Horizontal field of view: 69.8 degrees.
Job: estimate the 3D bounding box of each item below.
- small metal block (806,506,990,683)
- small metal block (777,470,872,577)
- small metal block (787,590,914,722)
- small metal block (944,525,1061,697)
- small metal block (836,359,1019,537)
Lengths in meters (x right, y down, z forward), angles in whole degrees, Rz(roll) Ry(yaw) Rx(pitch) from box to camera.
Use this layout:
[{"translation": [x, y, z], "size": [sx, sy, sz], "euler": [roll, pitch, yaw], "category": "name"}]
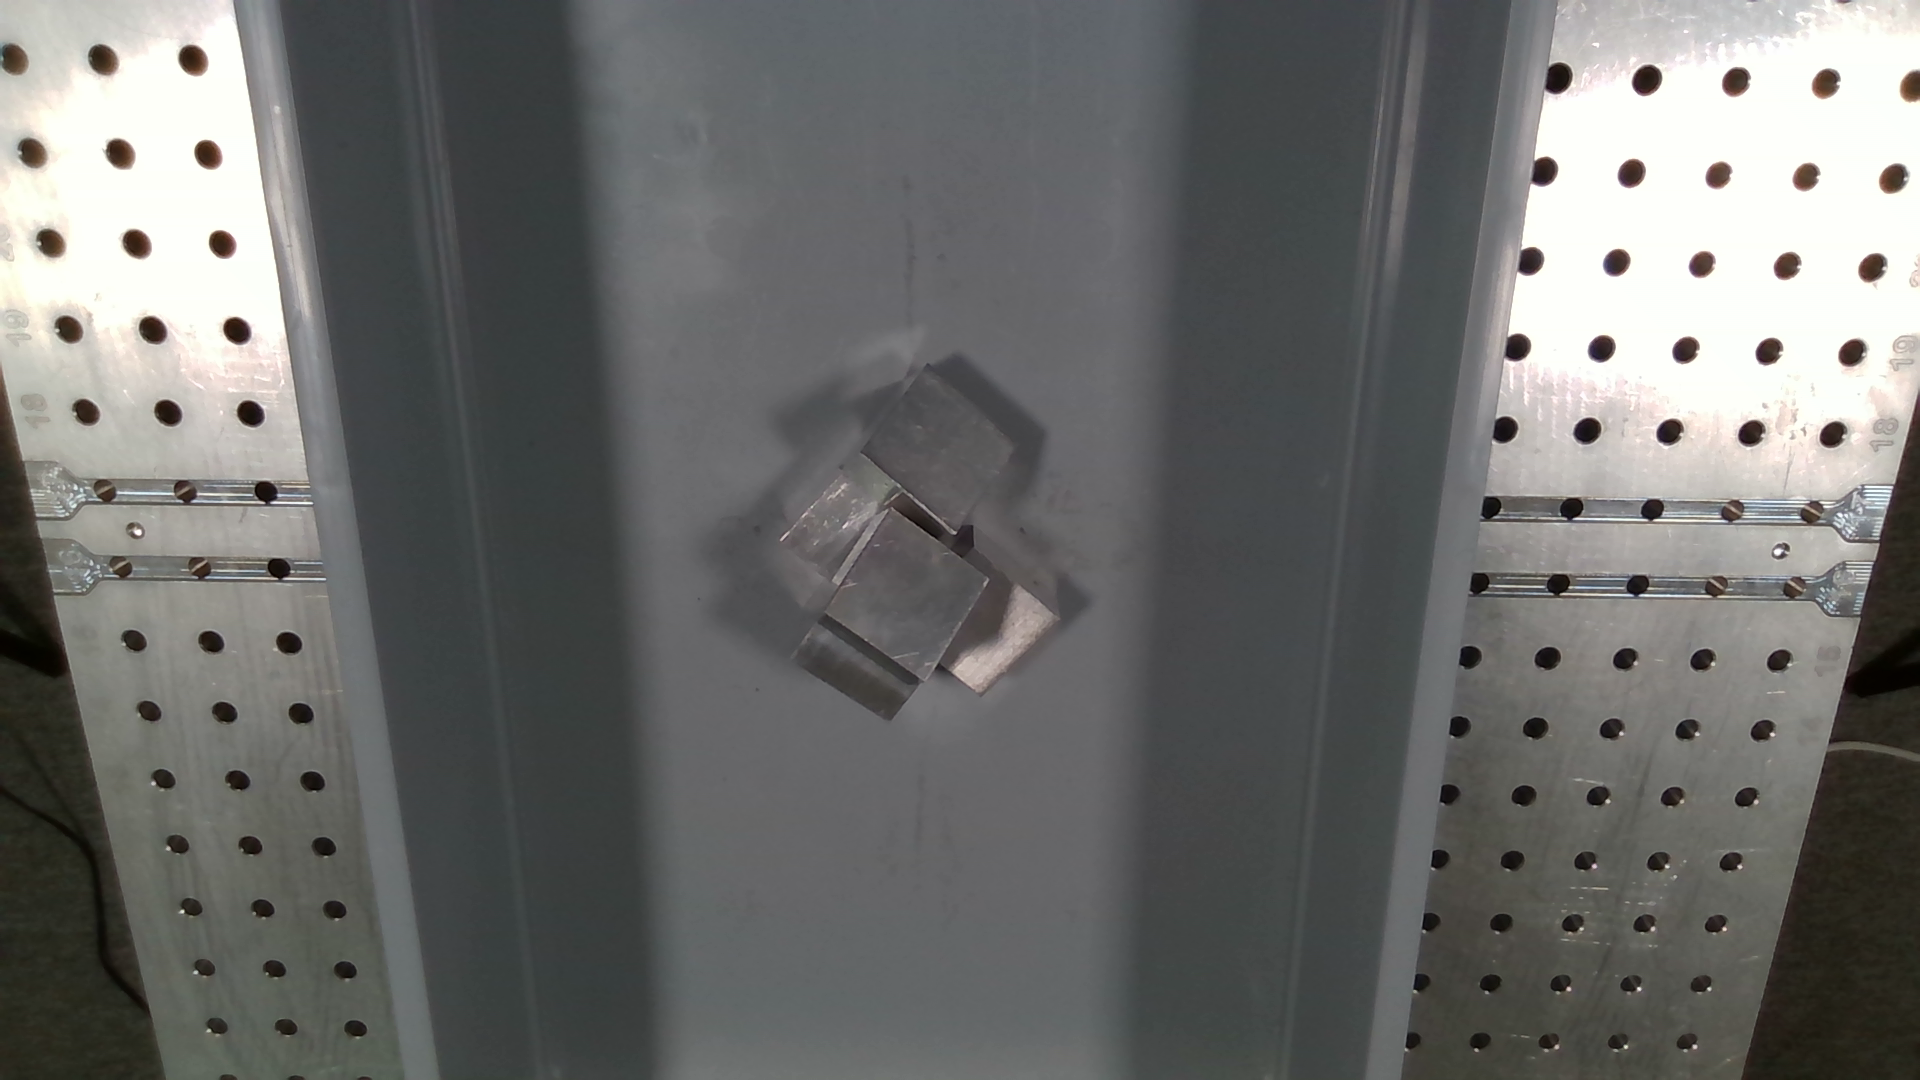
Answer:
[{"translation": [-0.025, 0.023, 0.552], "size": [0.050, 0.025, 0.050], "euler": [36, 73, -12], "category": "small metal block"}, {"translation": [-0.040, -0.006, 0.581], "size": [0.050, 0.025, 0.050], "euler": [40, 105, -13], "category": "small metal block"}, {"translation": [-0.043, 0.044, 0.586], "size": [0.050, 0.050, 0.025], "euler": [33, 107, -11], "category": "small metal block"}, {"translation": [0.007, 0.030, 0.594], "size": [0.050, 0.025, 0.050], "euler": [40, 105, -13], "category": "small metal block"}, {"translation": [-0.013, -0.035, 0.557], "size": [0.050, 0.025, 0.050], "euler": [40, 67, -13], "category": "small metal block"}]
